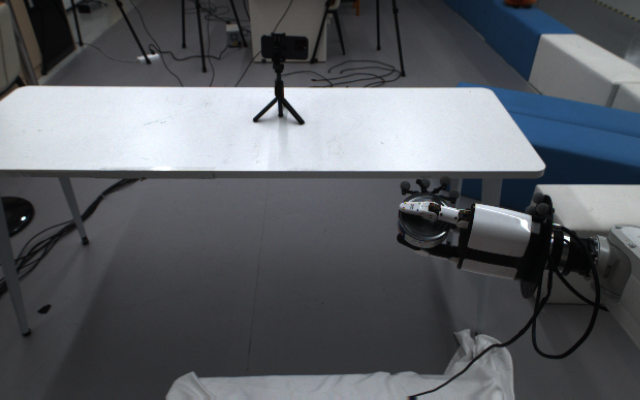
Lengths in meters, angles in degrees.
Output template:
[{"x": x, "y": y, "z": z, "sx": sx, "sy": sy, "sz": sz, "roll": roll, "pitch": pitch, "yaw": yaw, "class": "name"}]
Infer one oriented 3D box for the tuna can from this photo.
[{"x": 0.166, "y": 0.027, "z": 0.768, "sx": 0.085, "sy": 0.034, "sz": 0.085, "roll": -2, "pitch": 56, "yaw": 3, "class": "tuna can"}]
